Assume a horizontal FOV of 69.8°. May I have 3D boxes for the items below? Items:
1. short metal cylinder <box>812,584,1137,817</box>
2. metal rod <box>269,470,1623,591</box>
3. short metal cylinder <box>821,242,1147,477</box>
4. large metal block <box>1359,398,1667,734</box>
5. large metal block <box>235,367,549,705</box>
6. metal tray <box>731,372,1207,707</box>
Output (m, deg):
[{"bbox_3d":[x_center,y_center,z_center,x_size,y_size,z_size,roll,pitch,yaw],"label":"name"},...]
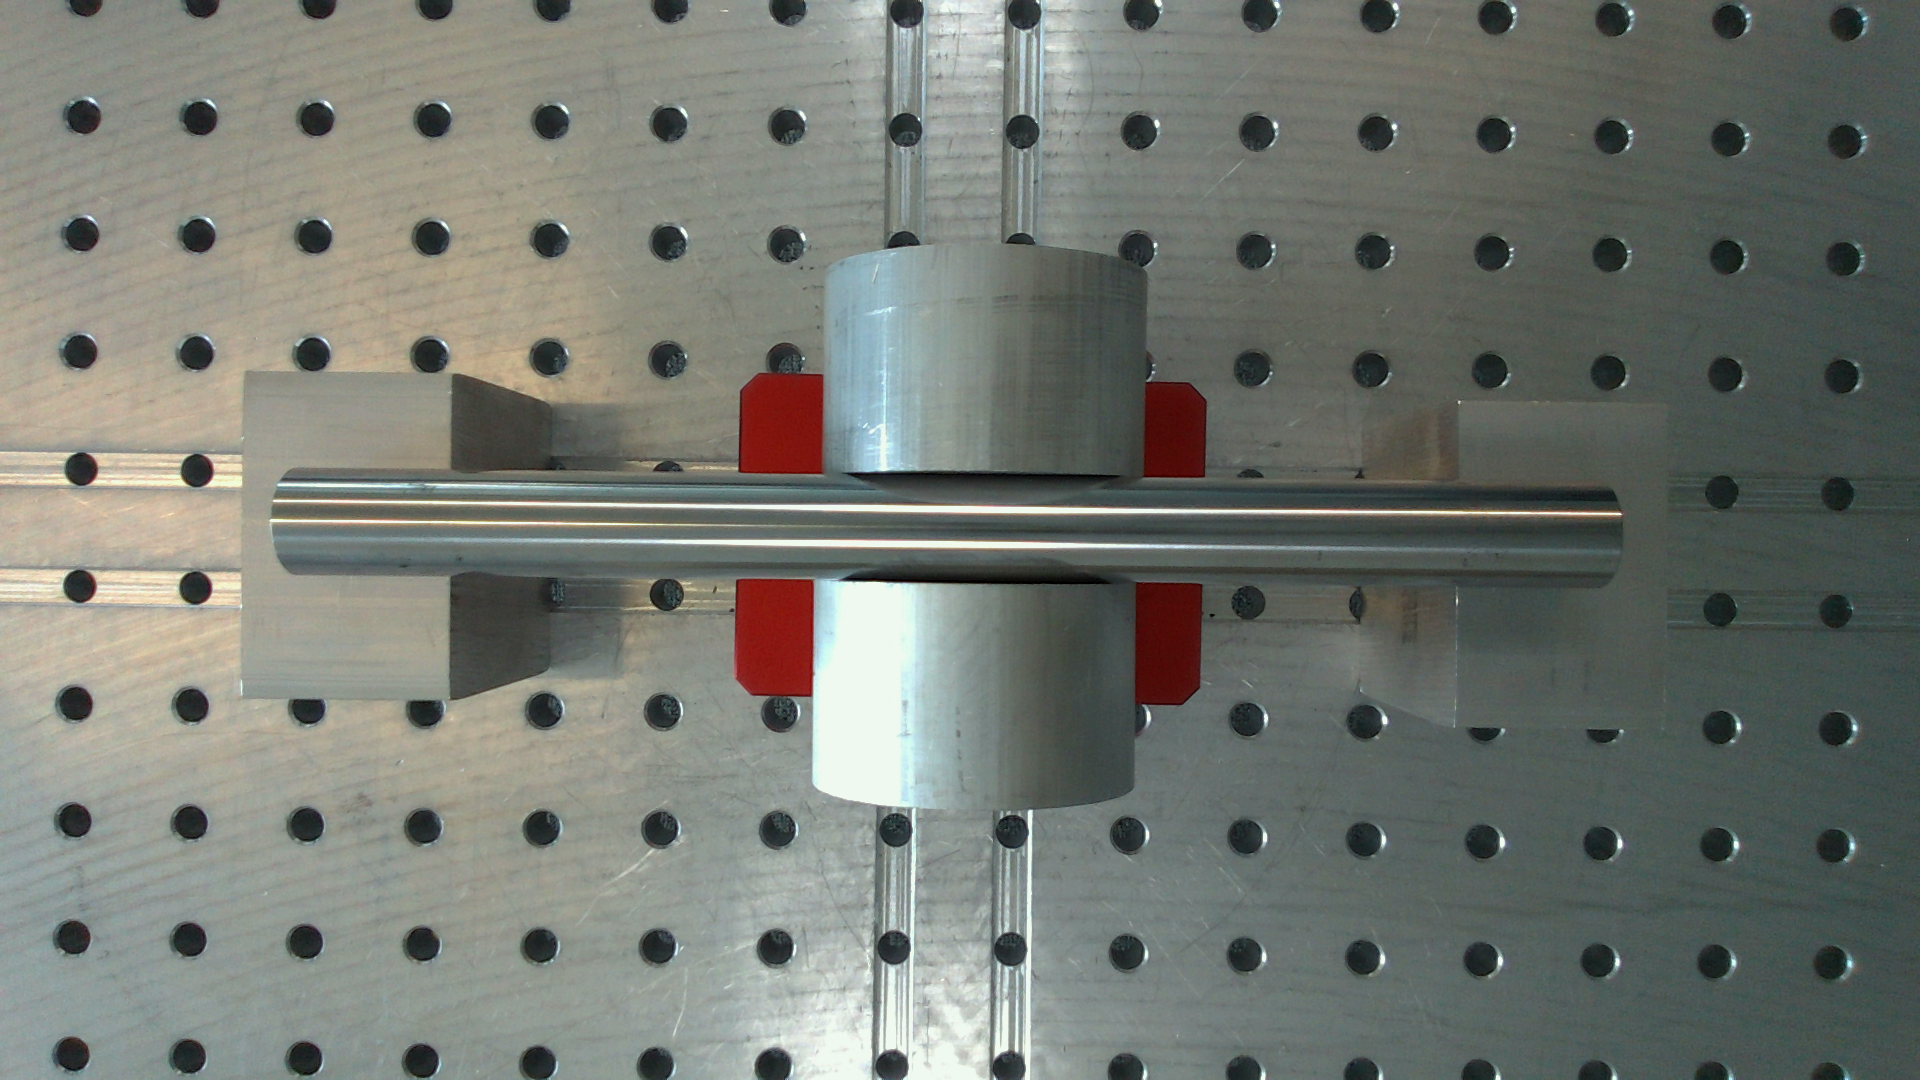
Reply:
[{"bbox_3d":[0.003,0.035,0.340,0.080,0.080,0.050,1,90,0],"label":"short metal cylinder"},{"bbox_3d":[-0.003,-0.002,0.317,0.300,0.025,0.025,1,90,0],"label":"metal rod"},{"bbox_3d":[0.006,-0.040,0.340,0.080,0.080,0.050,1,90,0],"label":"short metal cylinder"},{"bbox_3d":[0.144,0.006,0.370,0.050,0.080,0.080,1,90,0],"label":"large metal block"},{"bbox_3d":[-0.147,-0.001,0.368,0.050,0.080,0.080,1,90,0],"label":"large metal block"},{"bbox_3d":[0.003,0.000,0.395,0.130,0.030,0.090,1,90,0],"label":"metal tray"}]
